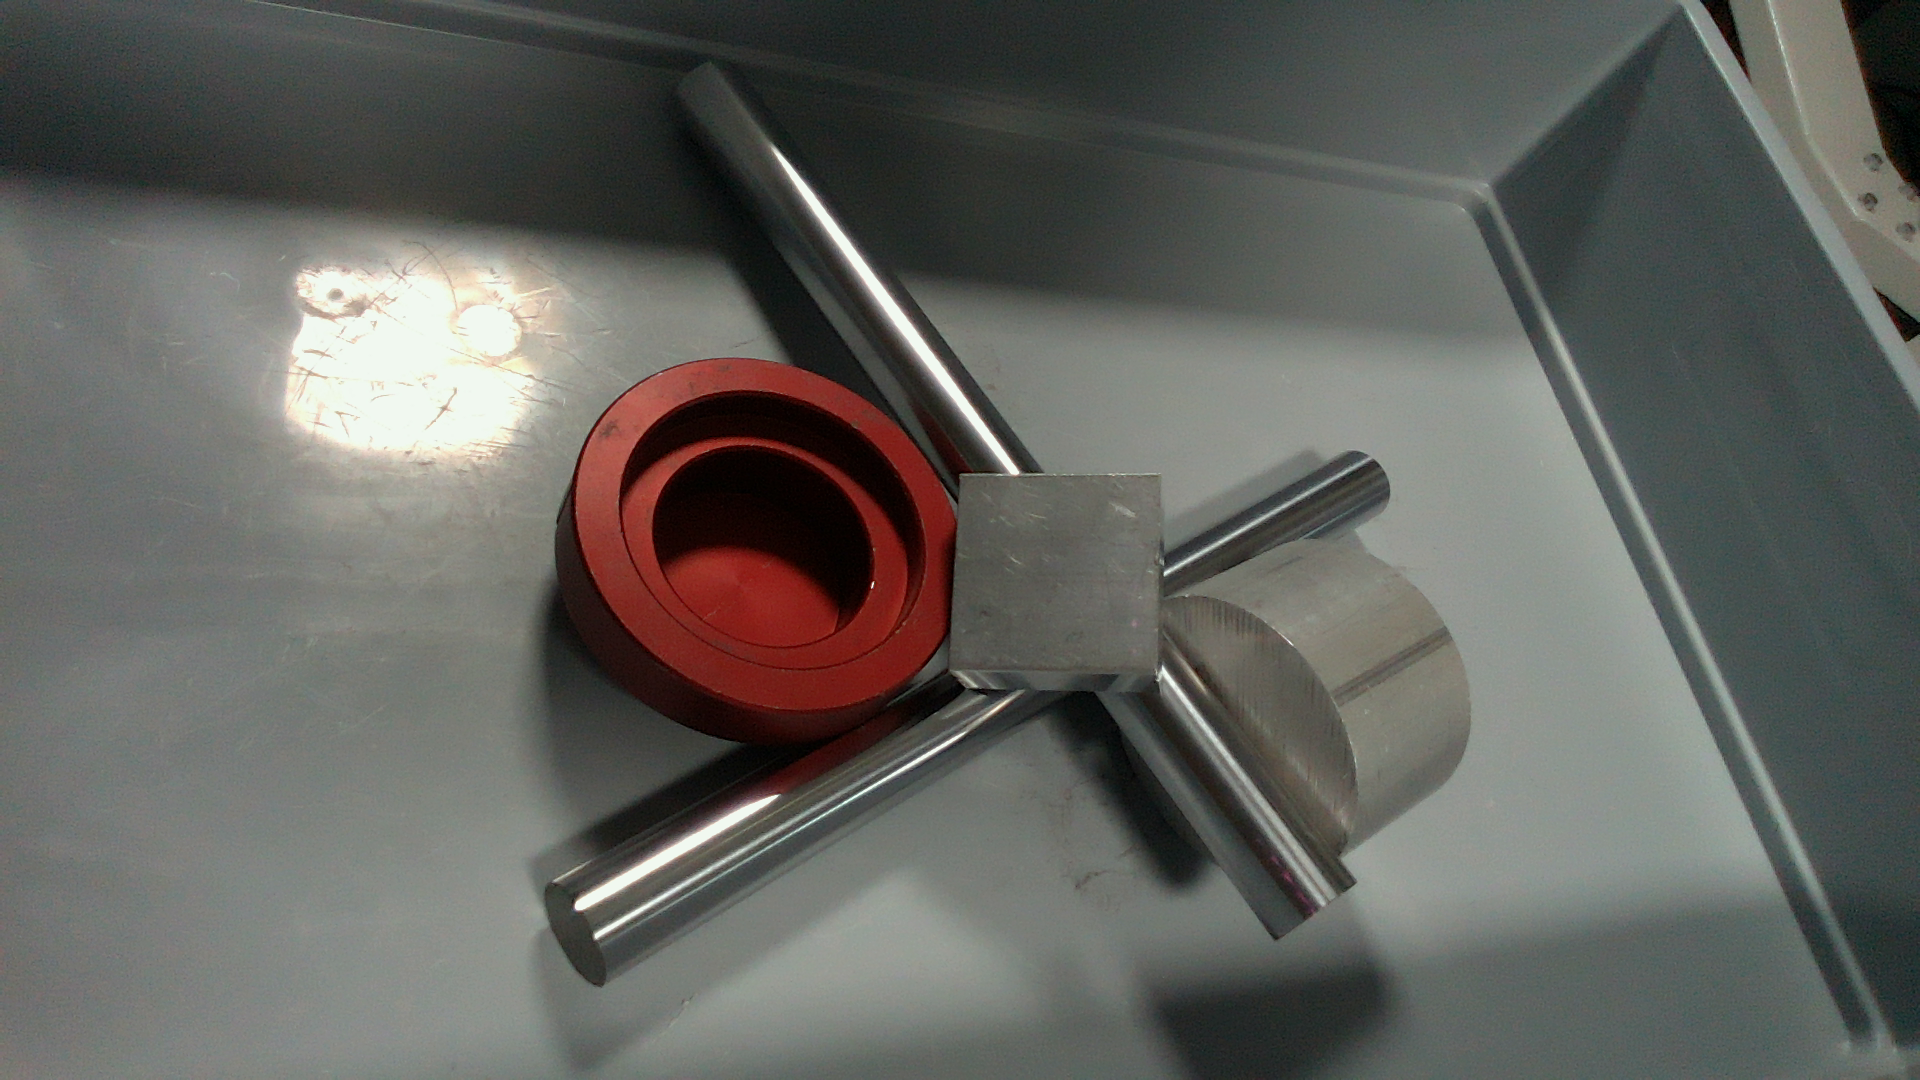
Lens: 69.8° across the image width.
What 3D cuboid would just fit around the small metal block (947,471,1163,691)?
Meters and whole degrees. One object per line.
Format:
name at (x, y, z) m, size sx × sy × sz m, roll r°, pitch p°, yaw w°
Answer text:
small metal block at (0.025, 0.011, 0.343) m, size 0.050 × 0.025 × 0.050 m, roll 1°, pitch 74°, yaw 10°

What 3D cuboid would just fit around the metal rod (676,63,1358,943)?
metal rod at (0.004, -0.025, 0.383) m, size 0.025 × 0.025 × 0.300 m, roll -21°, pitch 66°, yaw -36°

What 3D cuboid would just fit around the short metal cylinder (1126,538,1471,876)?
short metal cylinder at (0.088, 0.045, 0.373) m, size 0.050 × 0.080 × 0.080 m, roll -21°, pitch 73°, yaw -36°

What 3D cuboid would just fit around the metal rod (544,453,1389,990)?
metal rod at (0.027, 0.033, 0.383) m, size 0.301 × 0.025 × 0.025 m, roll -25°, pitch 75°, yaw -37°

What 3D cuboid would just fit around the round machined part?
round machined part at (-0.053, 0.006, 0.346) m, size 0.098 × 0.042 × 0.098 m, roll 14°, pitch 56°, yaw -21°
